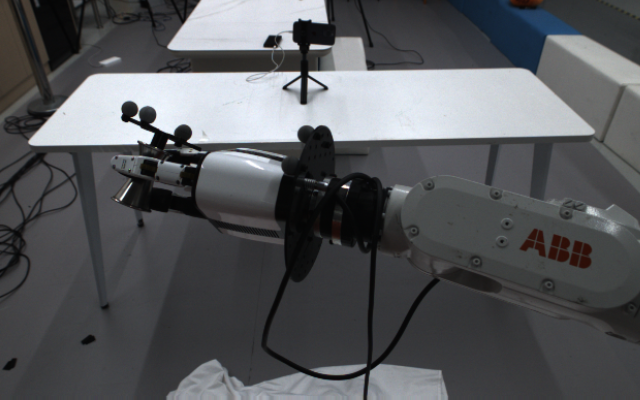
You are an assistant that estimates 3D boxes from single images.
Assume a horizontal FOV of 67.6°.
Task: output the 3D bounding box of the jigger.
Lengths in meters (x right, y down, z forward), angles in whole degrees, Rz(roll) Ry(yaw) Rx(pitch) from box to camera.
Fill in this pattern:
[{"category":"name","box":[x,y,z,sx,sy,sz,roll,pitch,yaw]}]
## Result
[{"category":"jigger","box":[-0.192,-0.026,0.524,0.043,0.071,0.043,24,-2,1]}]
